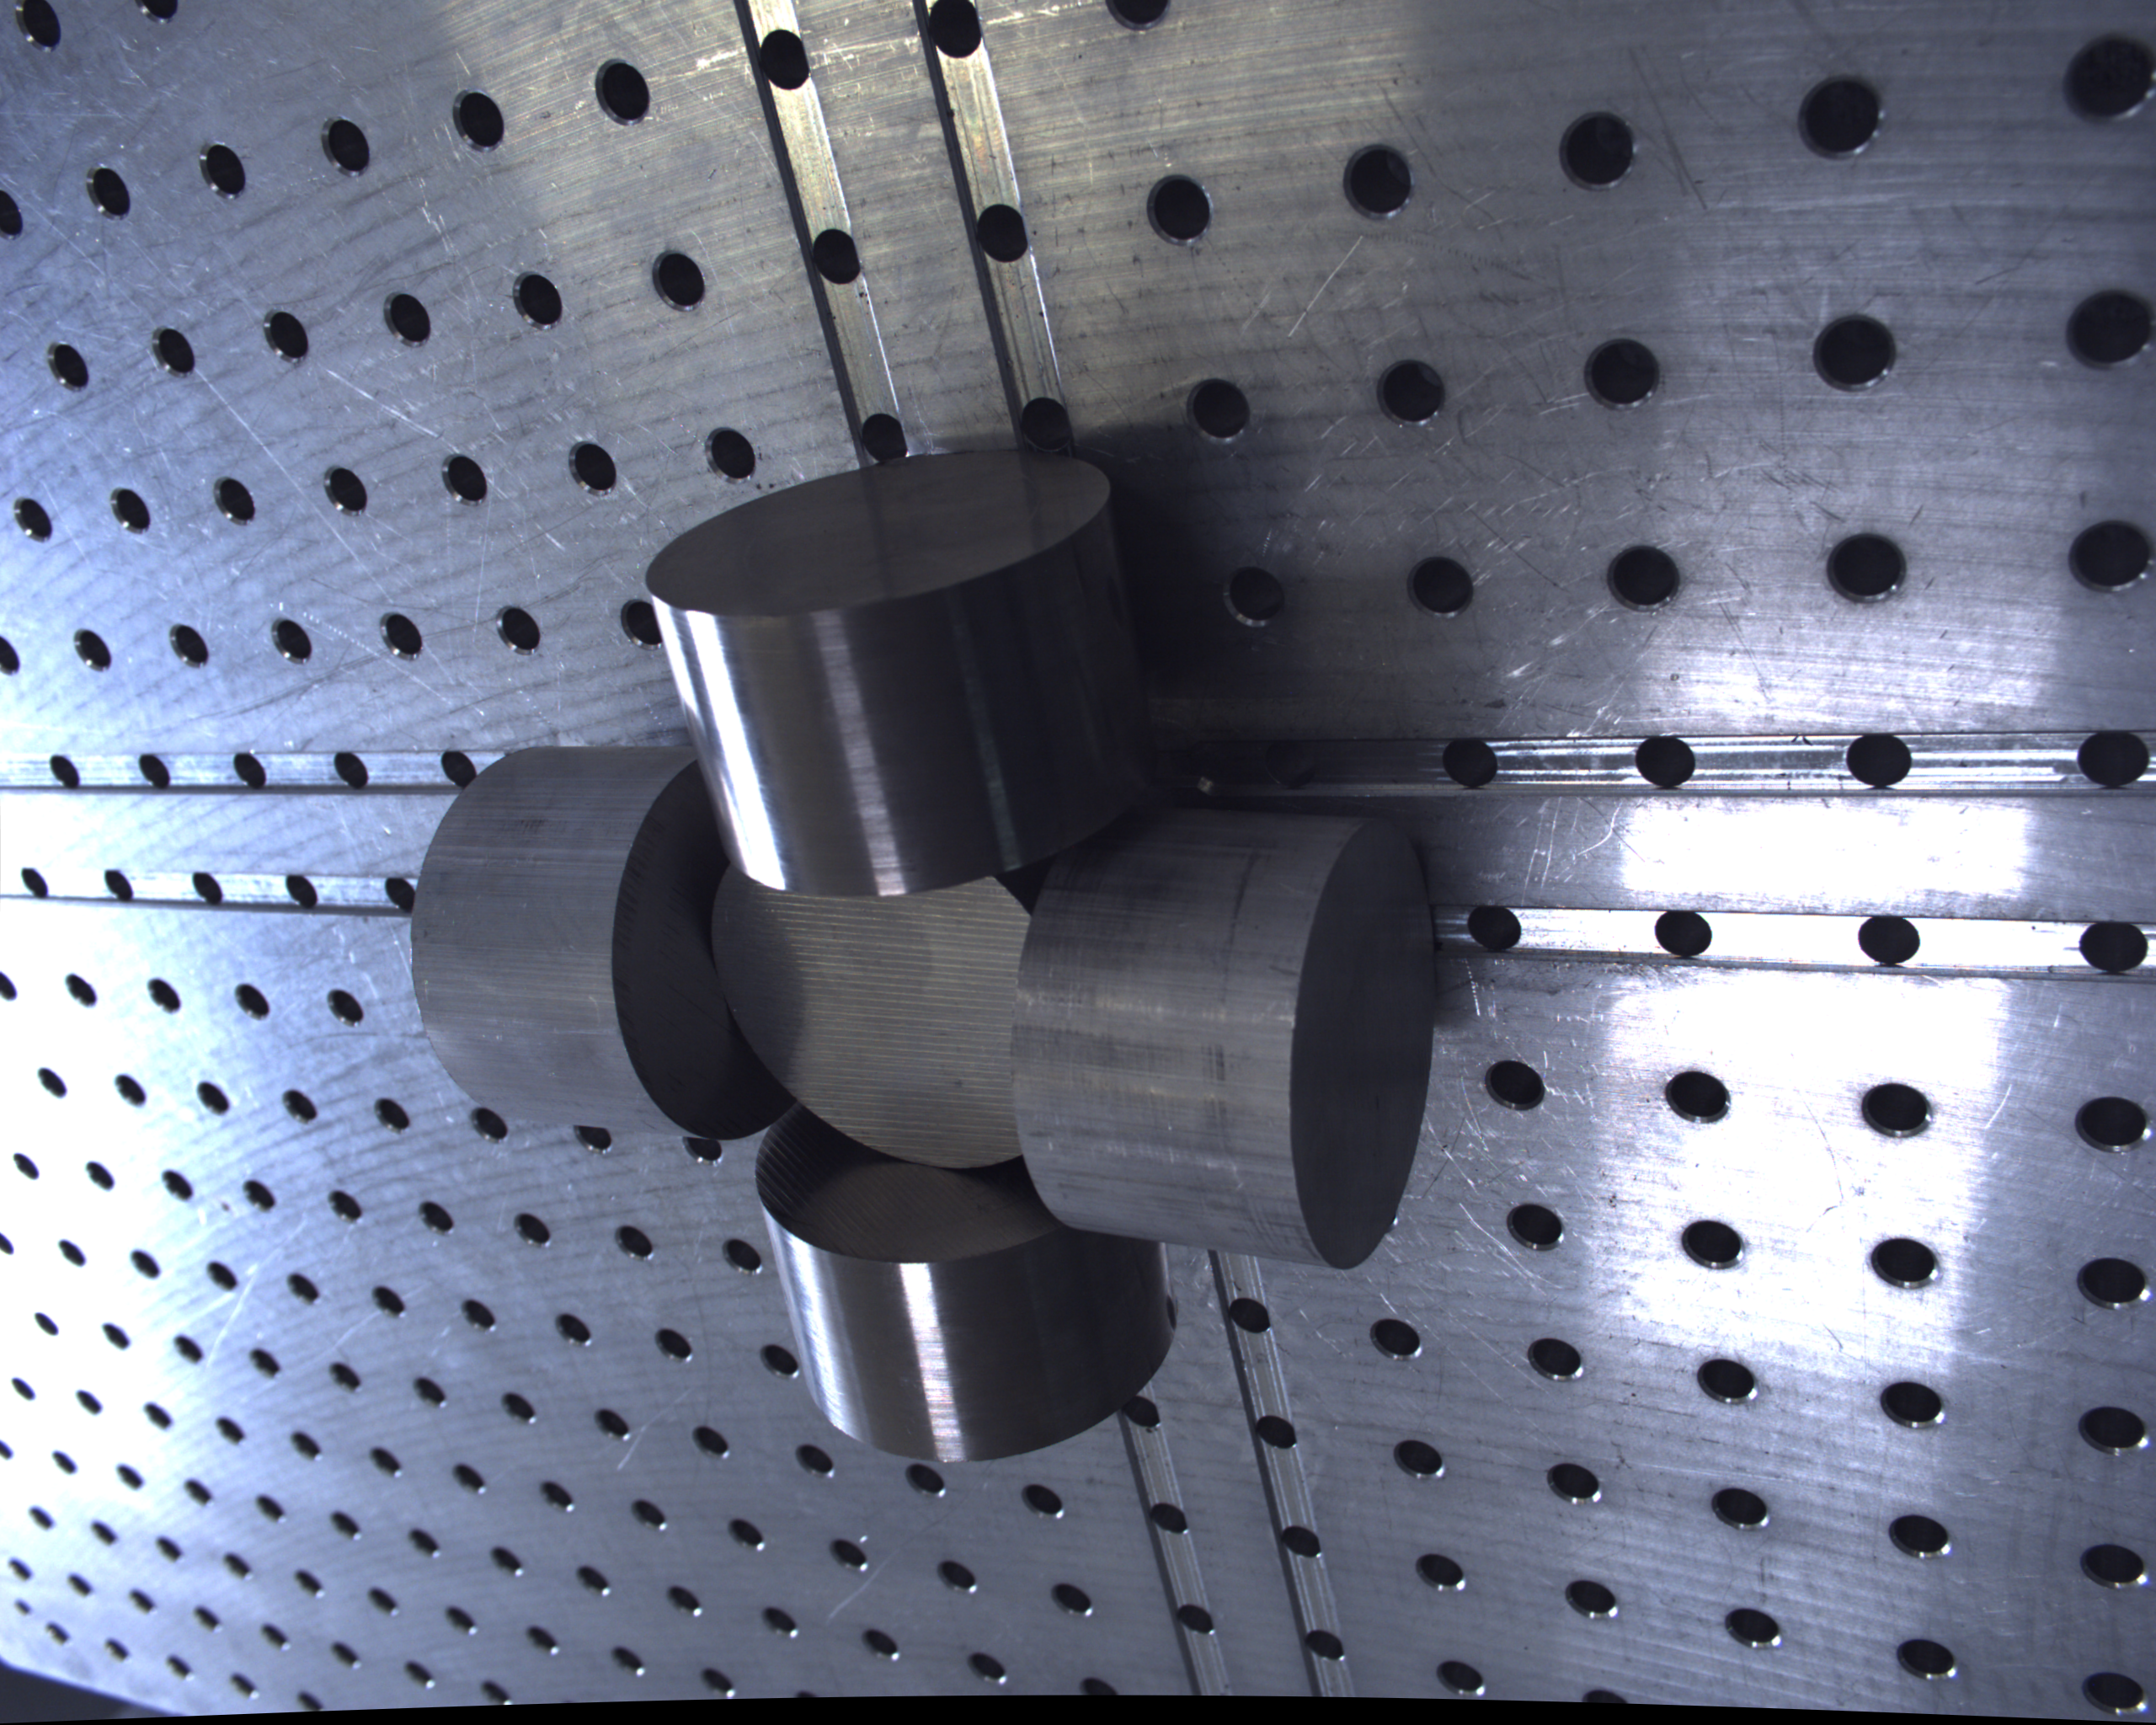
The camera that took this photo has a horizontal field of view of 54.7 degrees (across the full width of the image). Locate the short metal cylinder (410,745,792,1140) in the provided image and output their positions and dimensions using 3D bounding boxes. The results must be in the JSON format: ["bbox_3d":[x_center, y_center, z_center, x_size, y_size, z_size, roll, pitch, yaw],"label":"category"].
[{"bbox_3d":[-0.090,0.015,0.433,0.050,0.080,0.080,1,119,27],"label":"short metal cylinder"}]

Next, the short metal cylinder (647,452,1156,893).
[{"bbox_3d":[-0.030,-0.036,0.369,0.080,0.080,0.050,3,119,27],"label":"short metal cylinder"}]

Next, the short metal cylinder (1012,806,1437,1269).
[{"bbox_3d":[0.029,0.030,0.379,0.050,0.080,0.079,4,120,26],"label":"short metal cylinder"}]

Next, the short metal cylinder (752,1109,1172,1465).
[{"bbox_3d":[-0.023,0.078,0.435,0.080,0.080,0.050,6,121,25],"label":"short metal cylinder"}]

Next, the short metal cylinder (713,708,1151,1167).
[{"bbox_3d":[-0.025,0.014,0.417,0.080,0.050,0.079,12,123,20],"label":"short metal cylinder"}]
